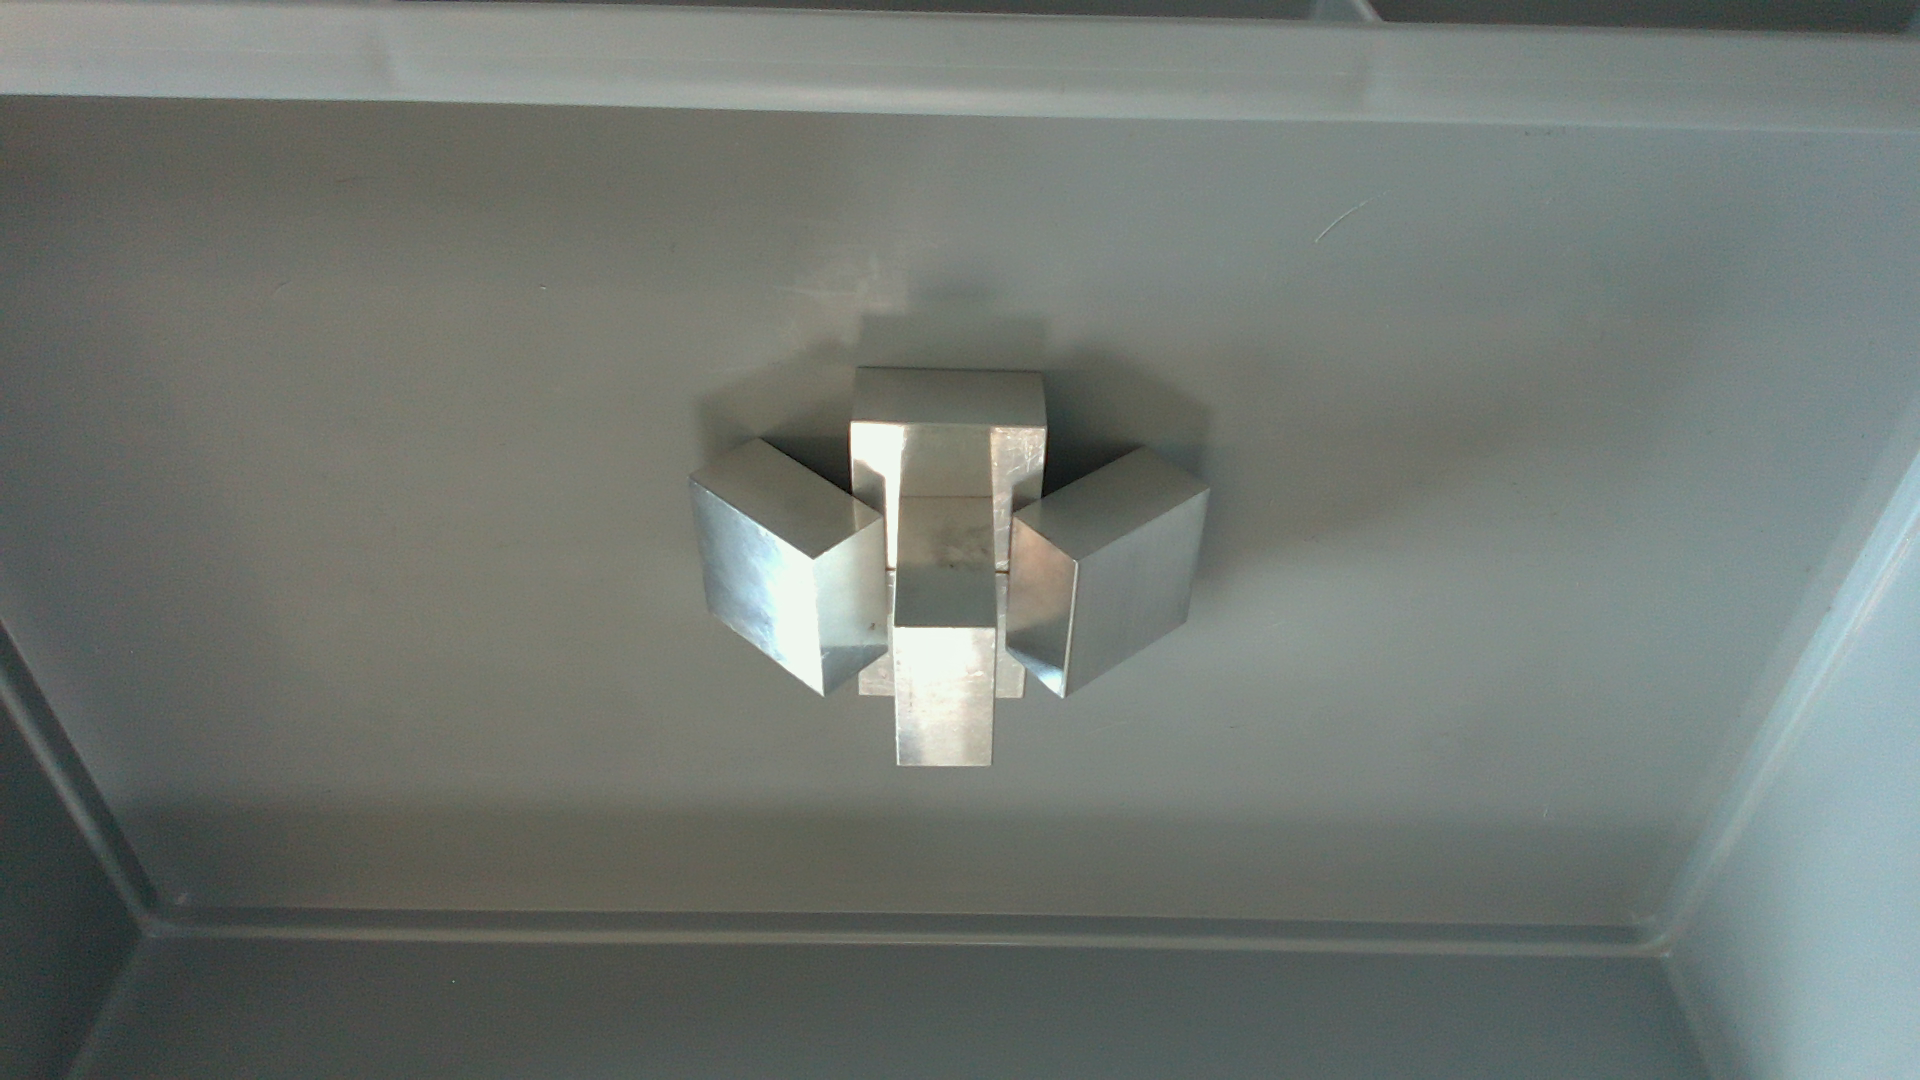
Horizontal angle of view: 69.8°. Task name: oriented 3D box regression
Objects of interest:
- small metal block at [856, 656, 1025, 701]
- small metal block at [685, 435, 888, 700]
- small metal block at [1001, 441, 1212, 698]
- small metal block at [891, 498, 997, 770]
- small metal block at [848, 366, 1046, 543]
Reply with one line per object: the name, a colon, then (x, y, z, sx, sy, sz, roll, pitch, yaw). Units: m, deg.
small metal block: (-0.005, 0.020, 0.405, 0.050, 0.025, 0.050, 2, 130, -1)
small metal block: (-0.047, 0.007, 0.377, 0.050, 0.025, 0.050, 32, 139, 31)
small metal block: (0.040, 0.008, 0.380, 0.050, 0.025, 0.050, -27, 139, -30)
small metal block: (-0.004, 0.024, 0.359, 0.025, 0.050, 0.050, 0, 130, -1)
small metal block: (-0.004, -0.018, 0.372, 0.050, 0.025, 0.050, 1, 130, -2)
